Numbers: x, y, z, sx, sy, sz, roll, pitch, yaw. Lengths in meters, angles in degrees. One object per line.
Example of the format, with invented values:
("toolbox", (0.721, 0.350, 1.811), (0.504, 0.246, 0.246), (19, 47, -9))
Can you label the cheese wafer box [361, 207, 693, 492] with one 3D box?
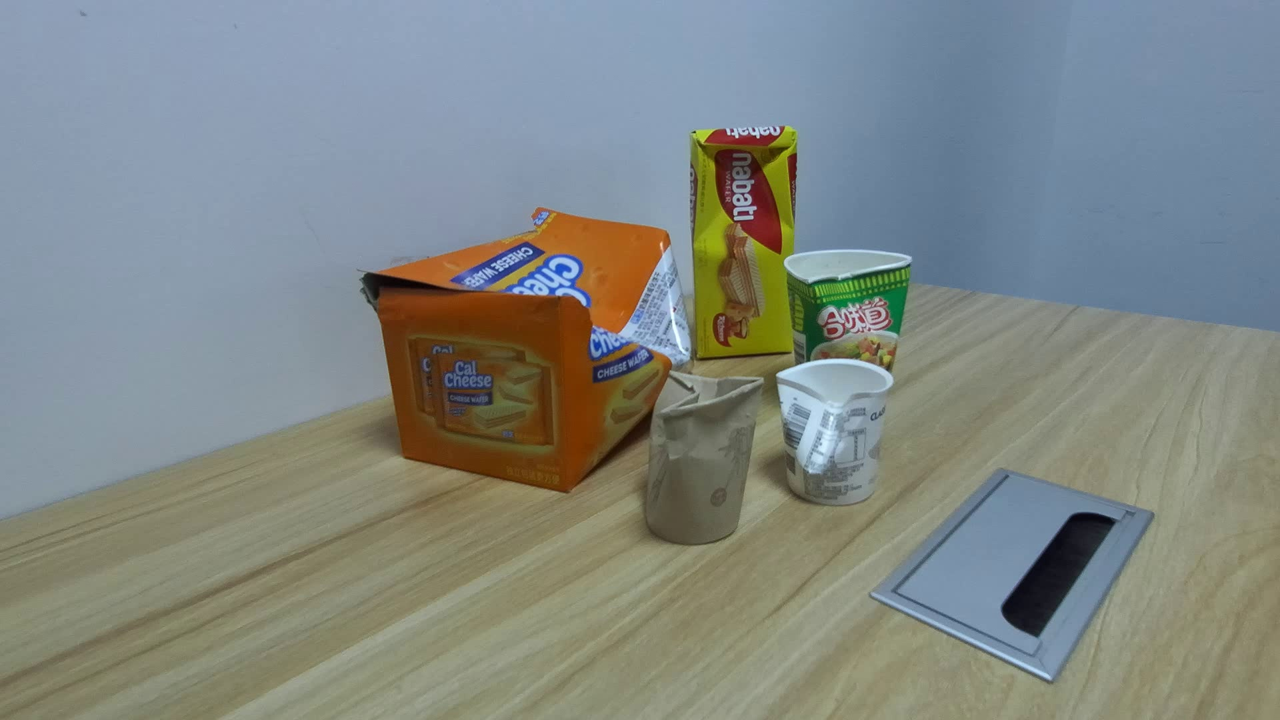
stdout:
("cheese wafer box", (-0.055, -0.025, 0.539), (0.190, 0.145, 0.219), (6, 22, 25))

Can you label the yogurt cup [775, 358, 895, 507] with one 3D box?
("yogurt cup", (0.118, 0.043, 0.426), (0.067, 0.070, 0.067), (-4, 19, 2))

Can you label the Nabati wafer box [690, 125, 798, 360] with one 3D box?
("Nabati wafer box", (0.093, -0.102, 0.640), (0.096, 0.203, 0.042), (-2, 15, -2))

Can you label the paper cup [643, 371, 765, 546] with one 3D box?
("paper cup", (0.028, 0.052, 0.398), (0.067, 0.083, 0.058), (-19, 25, -39))

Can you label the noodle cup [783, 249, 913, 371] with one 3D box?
("noodle cup", (0.157, -0.023, 0.544), (0.094, 0.109, 0.087), (-4, 20, -1))
